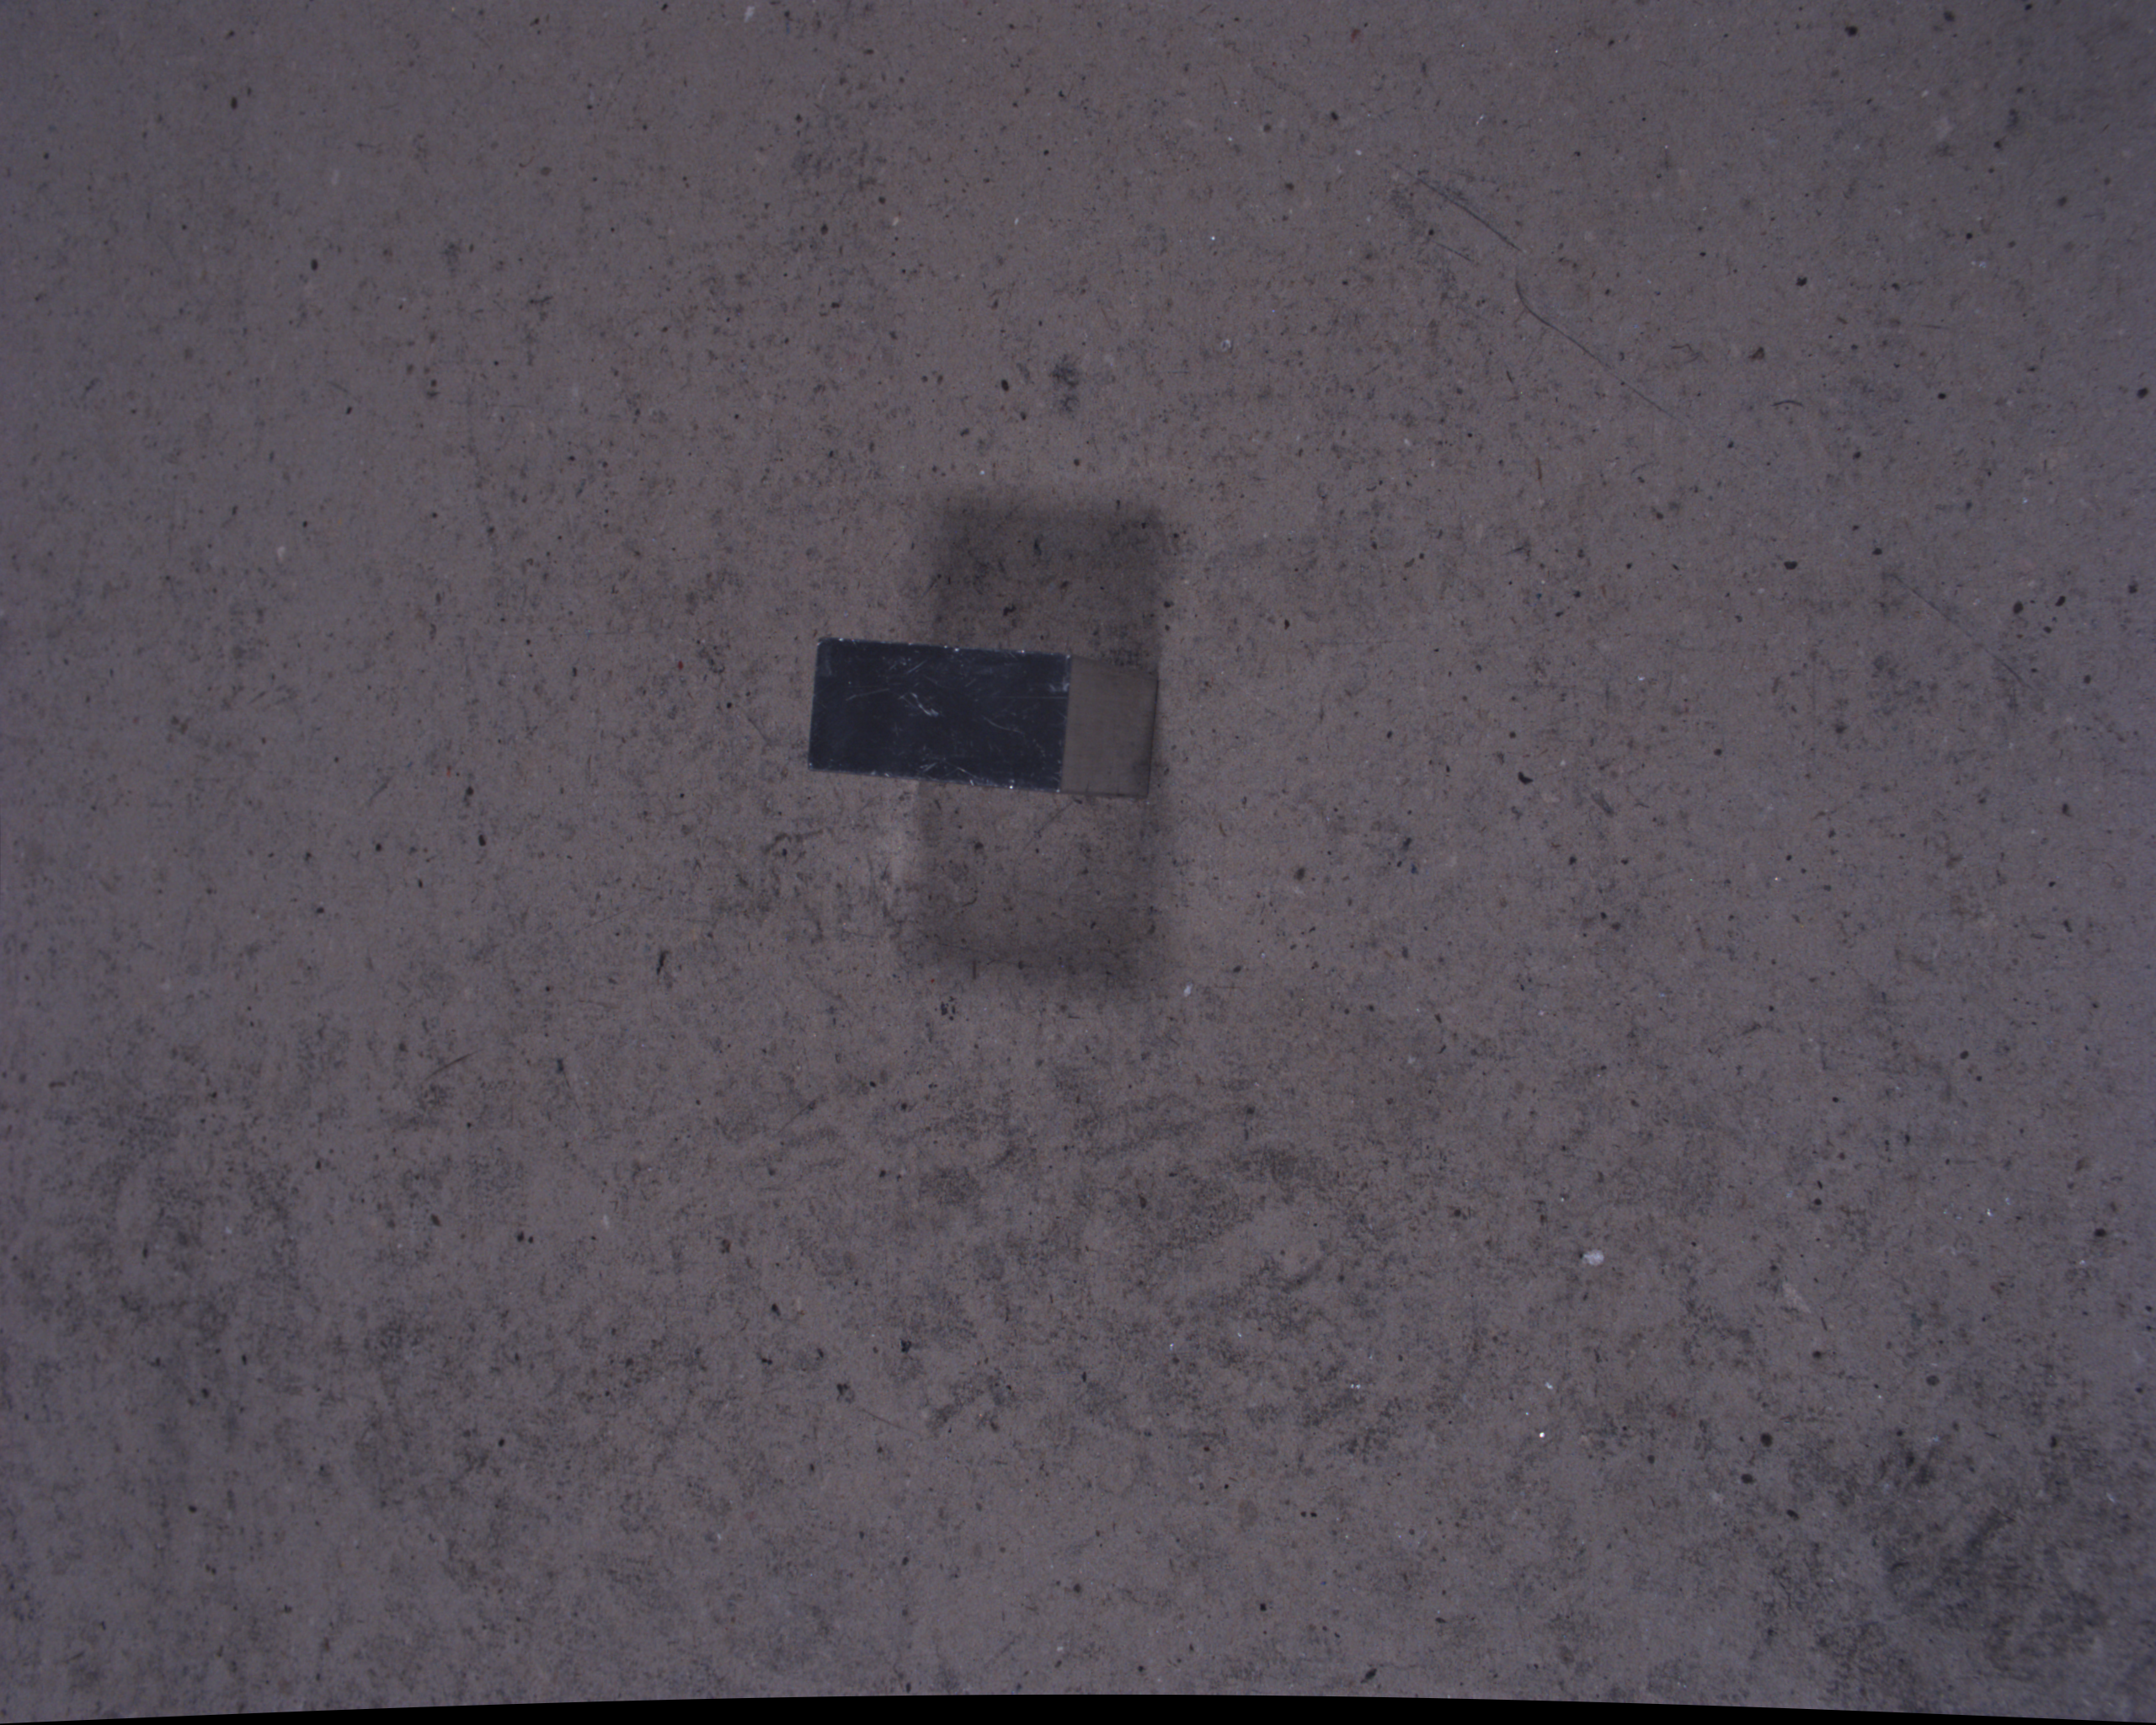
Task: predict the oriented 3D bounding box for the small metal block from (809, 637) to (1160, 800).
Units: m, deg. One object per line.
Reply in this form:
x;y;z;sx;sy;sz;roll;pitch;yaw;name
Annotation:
-0.017;-0.027;0.401;0.050;0.050;0.025;6;92;19;small metal block
